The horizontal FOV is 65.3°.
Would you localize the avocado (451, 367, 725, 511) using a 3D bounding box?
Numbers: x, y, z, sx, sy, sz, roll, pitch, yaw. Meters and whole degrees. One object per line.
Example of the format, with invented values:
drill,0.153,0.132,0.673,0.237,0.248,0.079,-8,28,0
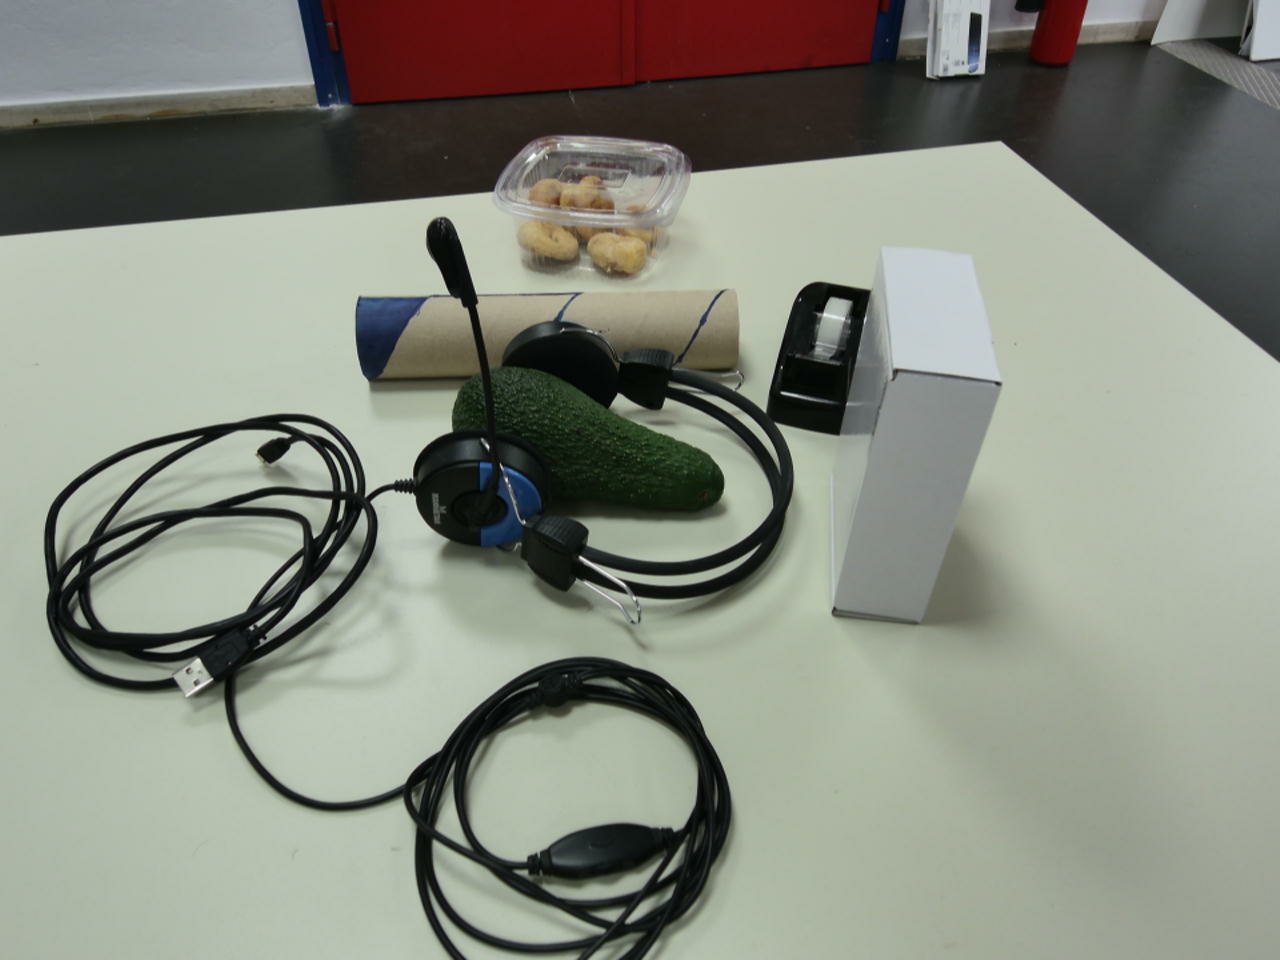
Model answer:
avocado,-0.026,-0.024,0.509,0.141,0.067,0.063,2,39,2
